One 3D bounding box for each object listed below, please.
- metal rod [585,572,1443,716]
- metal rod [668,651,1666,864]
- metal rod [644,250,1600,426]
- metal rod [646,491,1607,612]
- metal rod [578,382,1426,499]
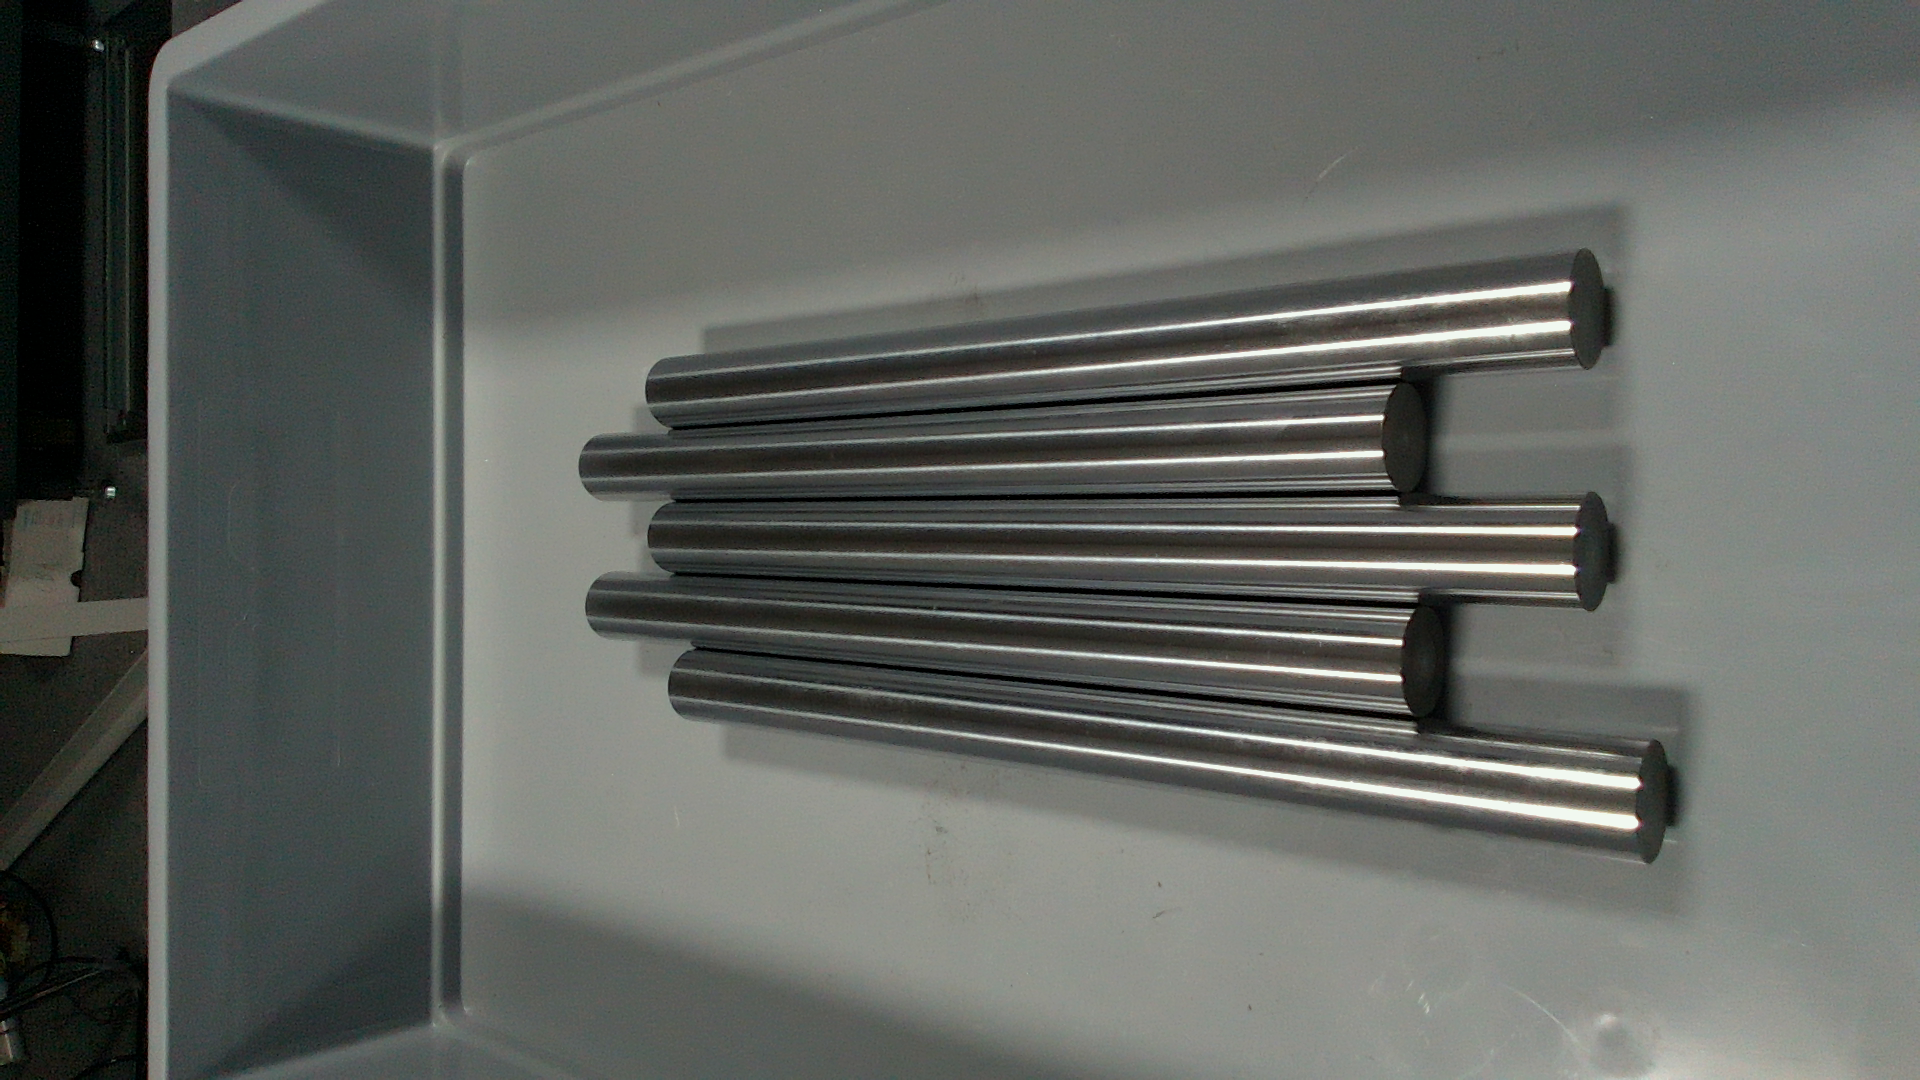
[{"bbox_3d":[-0.011,0.025,0.403,0.299,0.025,0.025,1,91,40],"label":"metal rod"},{"bbox_3d":[0.025,0.051,0.373,0.299,0.025,0.025,1,91,40],"label":"metal rod"},{"bbox_3d":[0.015,-0.049,0.381,0.299,0.025,0.025,1,91,40],"label":"metal rod"},{"bbox_3d":[0.016,0.001,0.380,0.299,0.025,0.025,1,91,40],"label":"metal rod"},{"bbox_3d":[-0.014,-0.025,0.406,0.299,0.025,0.025,1,91,40],"label":"metal rod"}]
